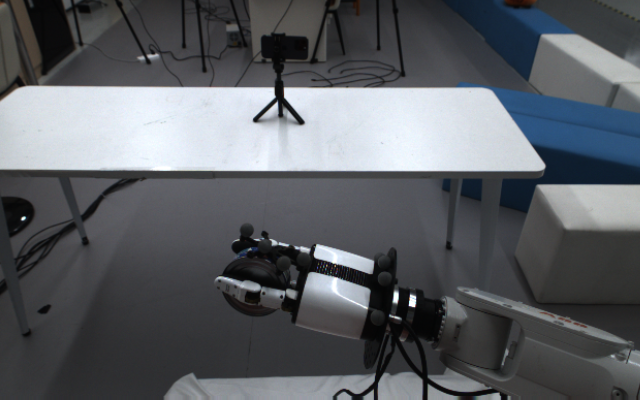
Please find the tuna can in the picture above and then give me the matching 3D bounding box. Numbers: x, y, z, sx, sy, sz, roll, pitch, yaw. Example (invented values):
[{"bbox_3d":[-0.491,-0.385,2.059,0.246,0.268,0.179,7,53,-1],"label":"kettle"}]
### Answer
[{"bbox_3d":[-0.080,0.105,0.625,0.085,0.085,0.034,7,17,7],"label":"tuna can"}]
